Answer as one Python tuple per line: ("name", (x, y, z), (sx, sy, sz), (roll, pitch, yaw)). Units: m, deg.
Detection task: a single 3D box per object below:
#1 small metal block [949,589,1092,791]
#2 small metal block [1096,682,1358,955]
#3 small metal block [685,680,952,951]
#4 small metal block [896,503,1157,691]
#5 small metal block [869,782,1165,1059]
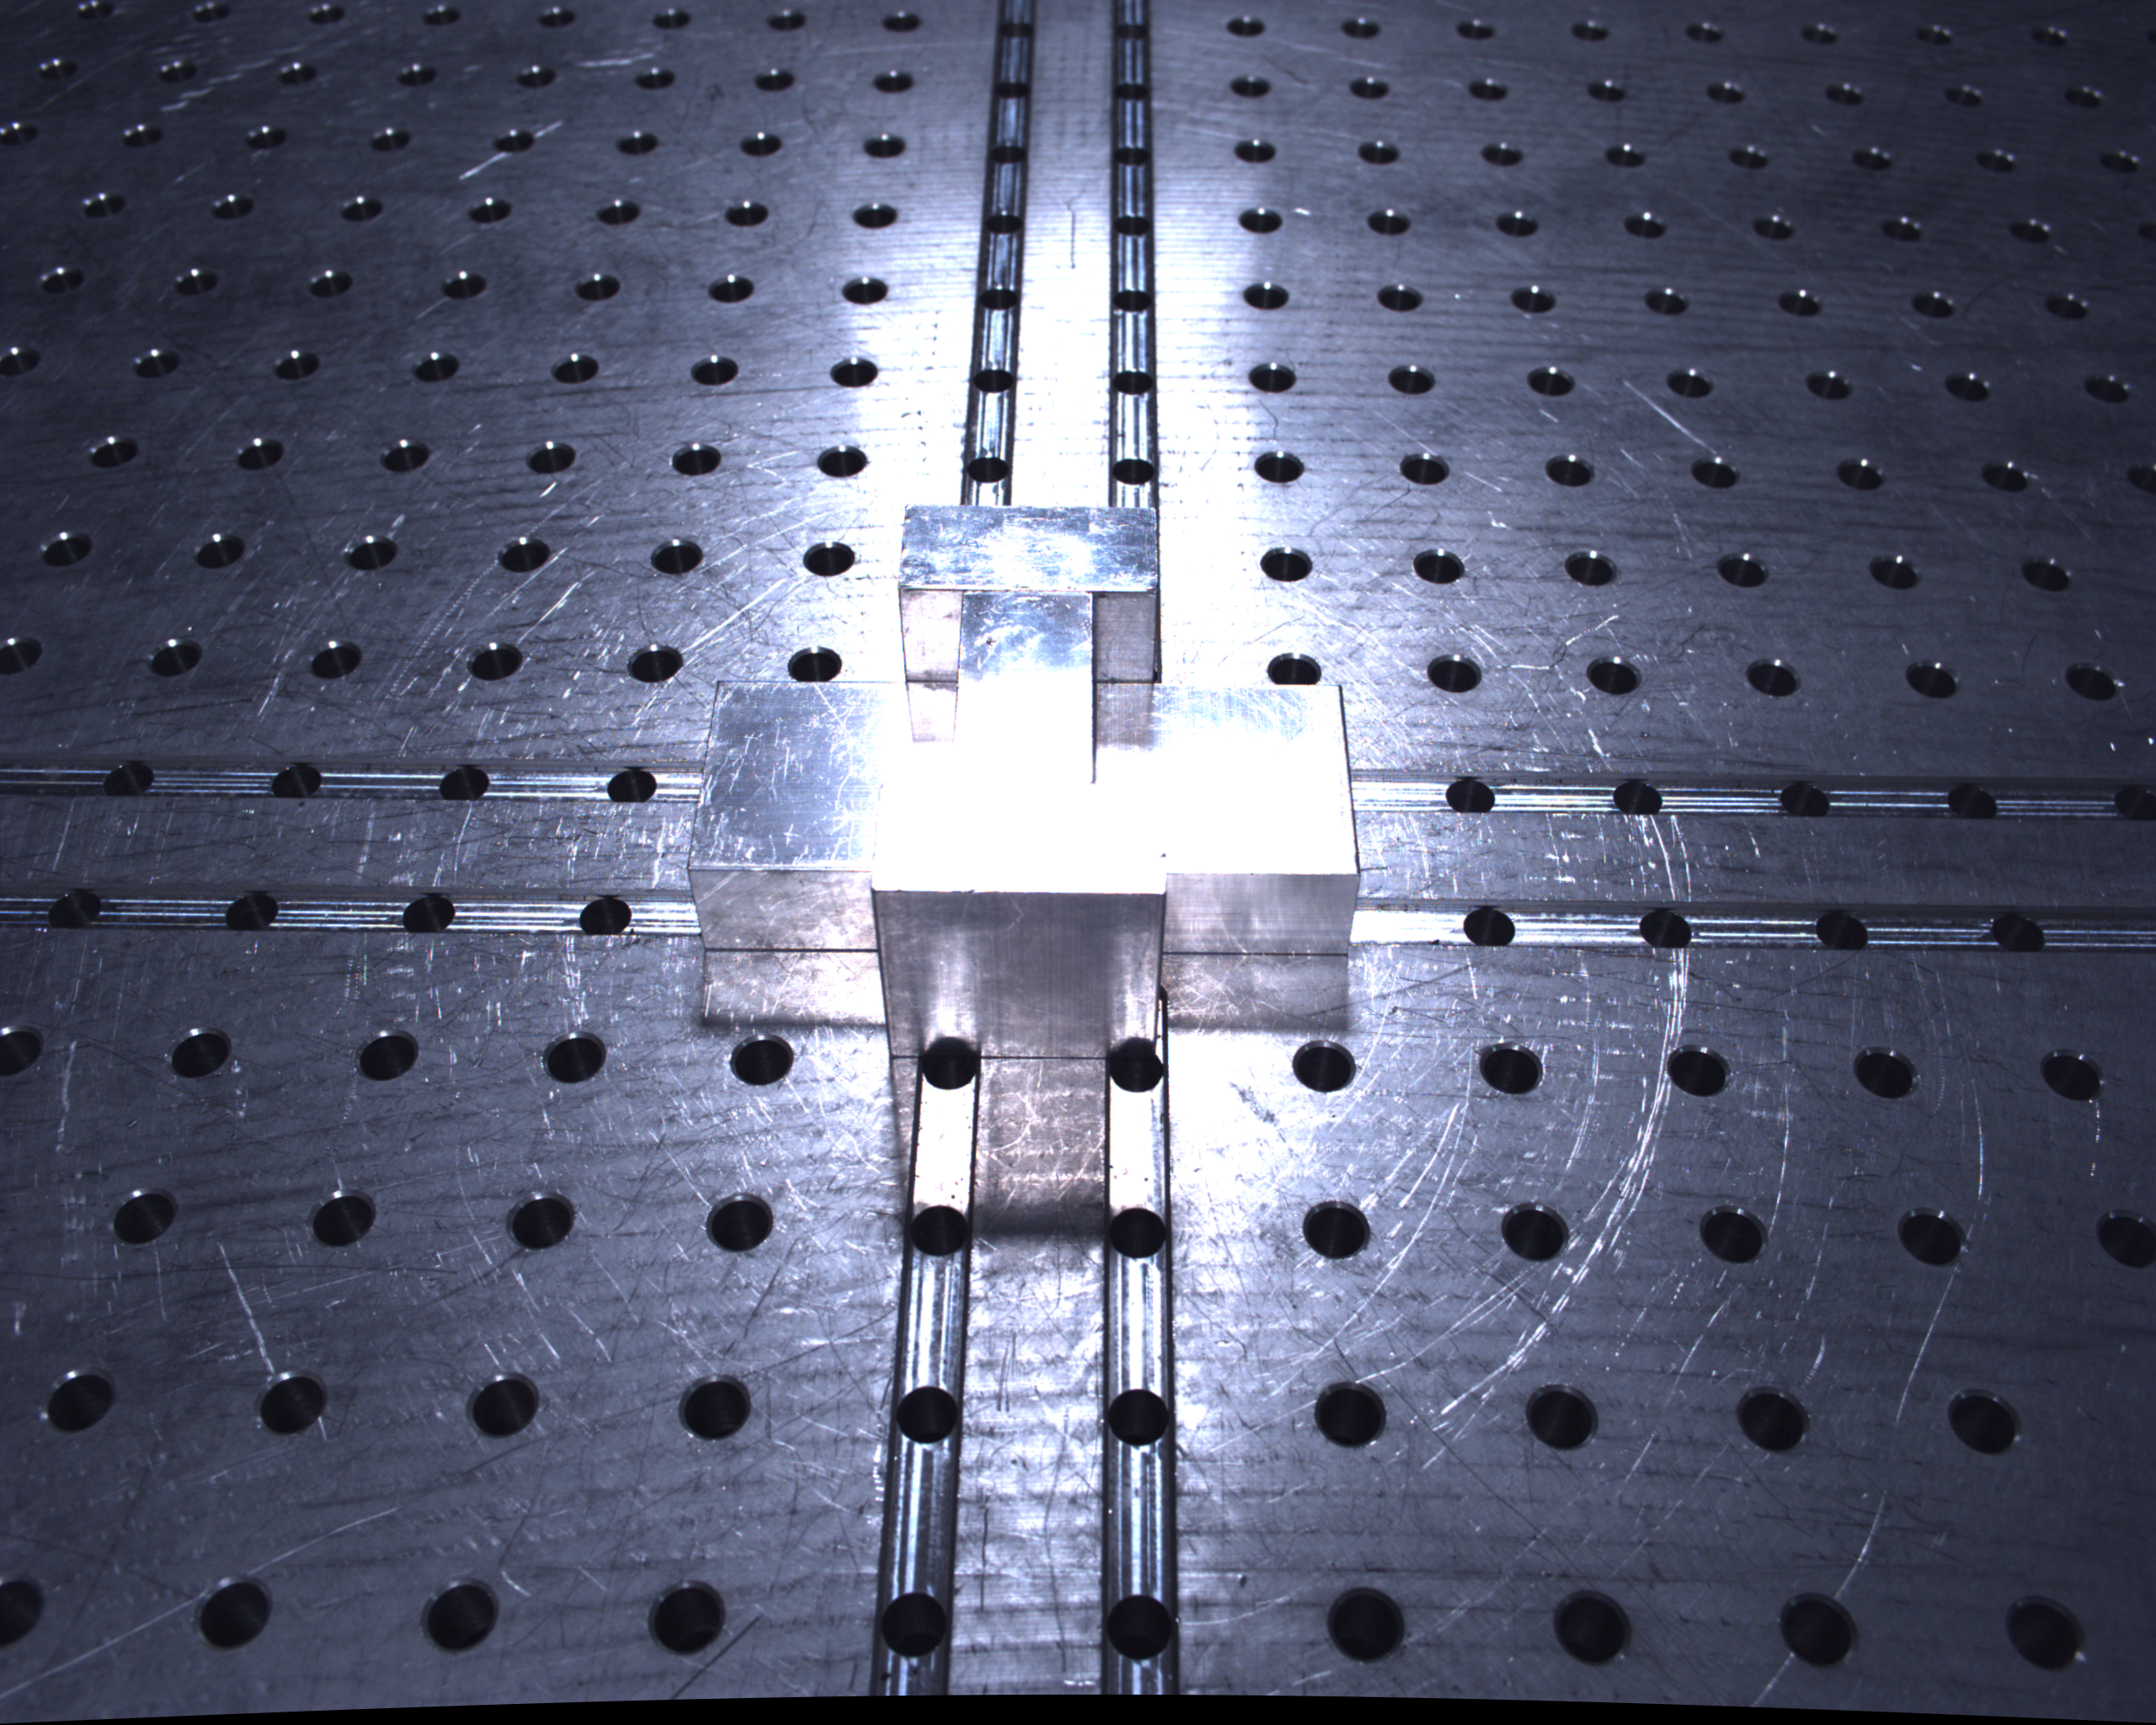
("small metal block", (-0.010, -0.018, 0.405), (0.025, 0.050, 0.050), (1, 50, 0))
("small metal block", (0.028, -0.009, 0.415), (0.050, 0.025, 0.050), (1, 50, 0))
("small metal block", (-0.048, -0.010, 0.415), (0.050, 0.025, 0.050), (0, 50, 0))
("small metal block", (-0.010, -0.046, 0.430), (0.050, 0.050, 0.025), (1, 50, 0))
("small metal block", (-0.010, 0.011, 0.381), (0.050, 0.050, 0.025), (1, 50, 0))
